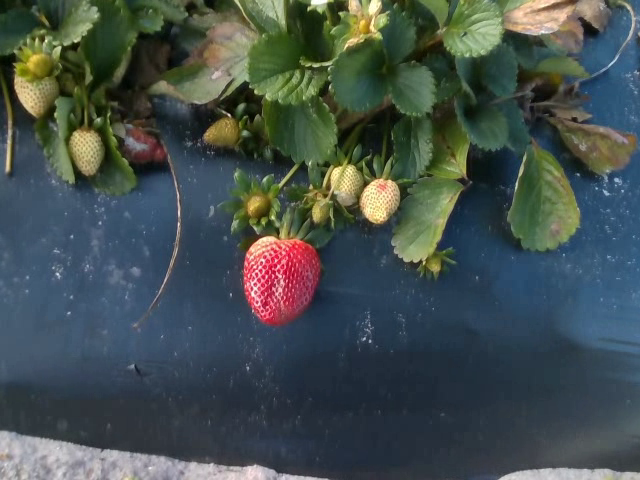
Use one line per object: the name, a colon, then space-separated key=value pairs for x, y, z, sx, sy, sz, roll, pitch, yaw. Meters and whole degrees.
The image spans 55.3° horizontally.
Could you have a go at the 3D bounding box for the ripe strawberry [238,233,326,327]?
ripe strawberry: x=-0.028 y=0.028 z=0.406 sx=0.052 sy=0.068 sz=0.045 roll=10 pitch=-38 yaw=-10
